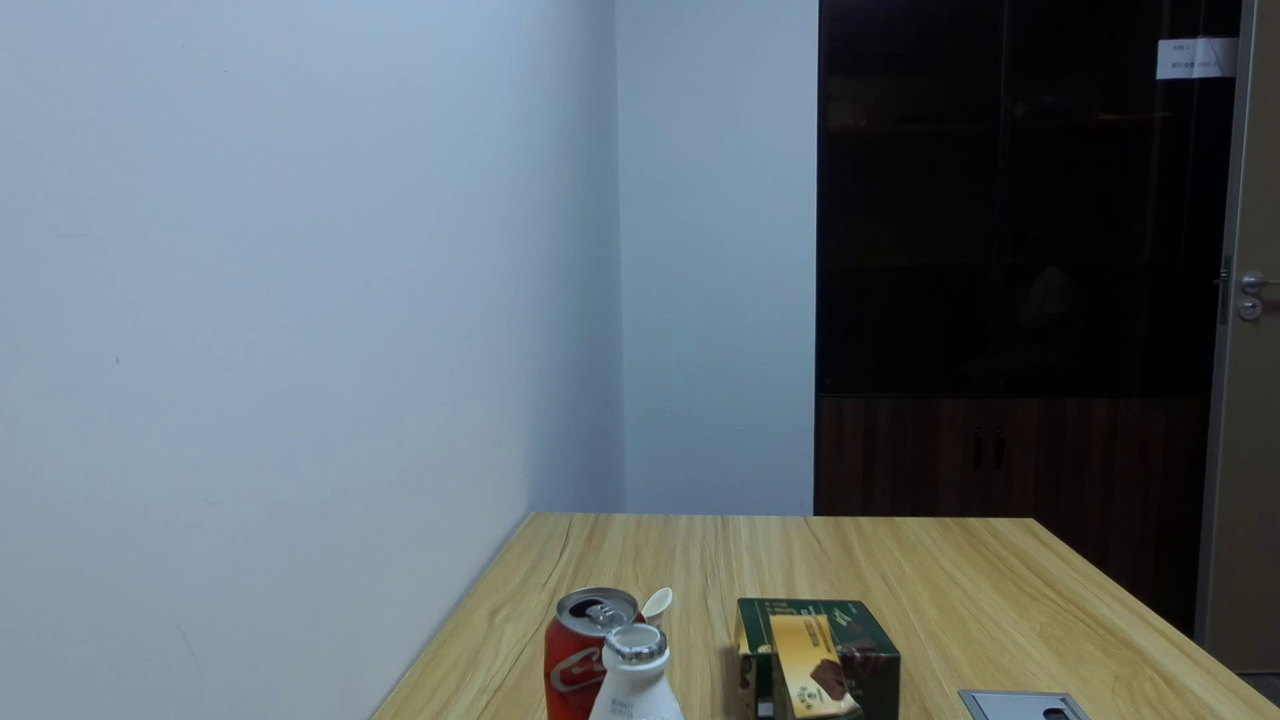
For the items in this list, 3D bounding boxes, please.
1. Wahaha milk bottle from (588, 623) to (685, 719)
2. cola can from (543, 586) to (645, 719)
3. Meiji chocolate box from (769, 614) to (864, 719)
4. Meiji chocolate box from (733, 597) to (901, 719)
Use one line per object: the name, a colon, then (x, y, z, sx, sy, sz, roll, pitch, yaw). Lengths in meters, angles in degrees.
Wahaha milk bottle: (-0.002, 0.206, 0.373, 0.056, 0.147, 0.056, 1, 19, 0)
cola can: (-0.025, 0.215, 0.468, 0.072, 0.117, 0.065, 0, 4, -8)
Meiji chocolate box: (0.103, 0.220, 0.406, 0.051, 0.117, 0.117, -8, 6, 3)
Meiji chocolate box: (0.136, 0.234, 0.559, 0.122, 0.058, 0.116, -1, 3, 2)
